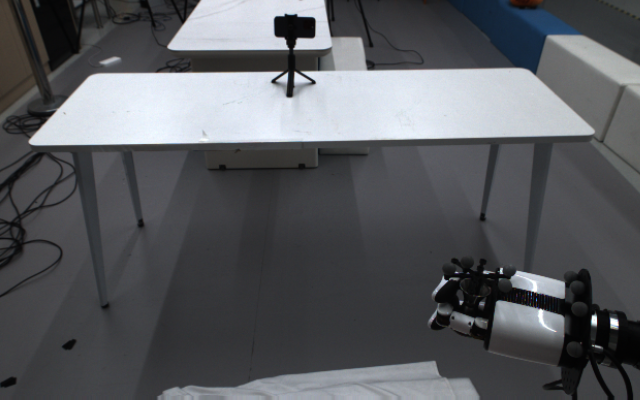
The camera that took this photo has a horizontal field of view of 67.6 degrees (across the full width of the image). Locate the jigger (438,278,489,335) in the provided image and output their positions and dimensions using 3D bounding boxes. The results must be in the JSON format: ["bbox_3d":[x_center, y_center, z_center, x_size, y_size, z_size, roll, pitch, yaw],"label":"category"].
[{"bbox_3d":[0.207,0.144,0.660,0.043,0.071,0.043,3,24,-1],"label":"jigger"}]
